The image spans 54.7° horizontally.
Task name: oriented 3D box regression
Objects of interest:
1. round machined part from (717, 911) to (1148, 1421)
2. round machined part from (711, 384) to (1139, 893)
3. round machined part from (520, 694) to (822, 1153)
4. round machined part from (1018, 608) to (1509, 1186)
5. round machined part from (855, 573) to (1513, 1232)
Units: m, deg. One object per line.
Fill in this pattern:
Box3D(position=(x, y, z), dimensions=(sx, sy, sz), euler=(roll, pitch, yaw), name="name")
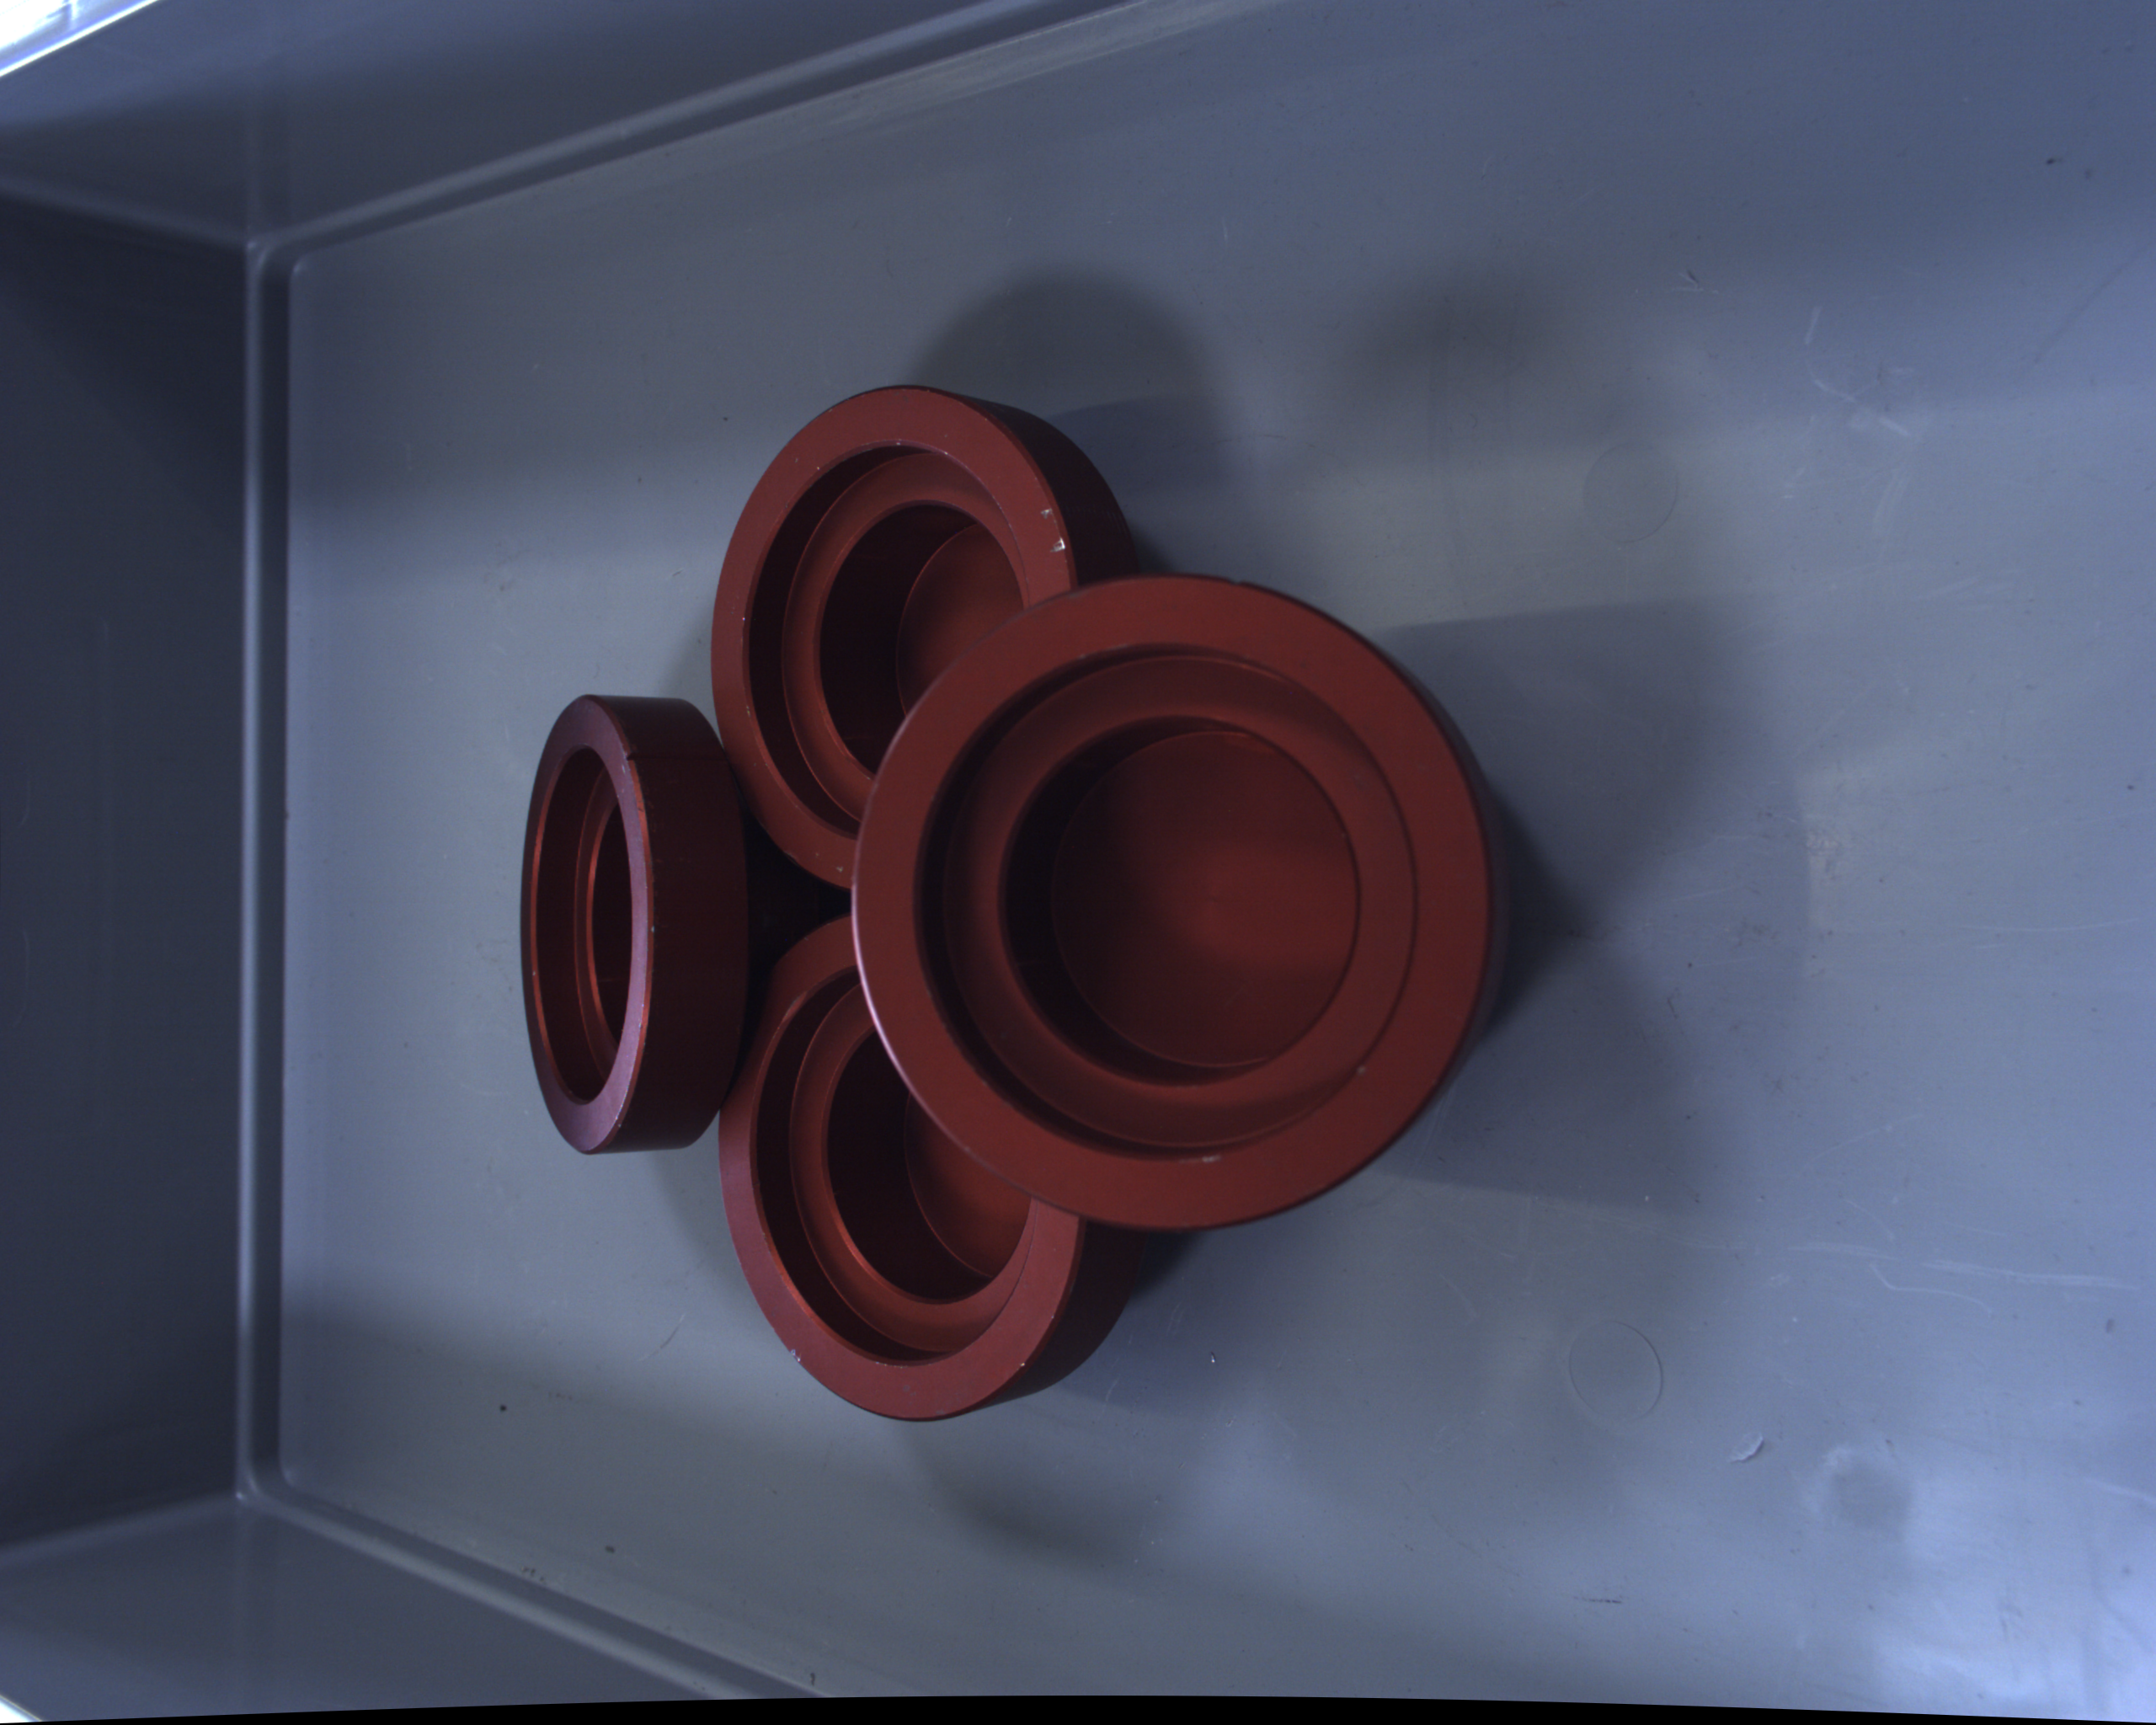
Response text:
Box3D(position=(-0.023, 0.057, 0.412), dimensions=(0.098, 0.042, 0.097), euler=(0, 90, 40), name="round machined part")
Box3D(position=(-0.025, -0.042, 0.414), dimensions=(0.098, 0.042, 0.097), euler=(0, 90, 40), name="round machined part")
Box3D(position=(-0.088, 0.013, 0.453), dimensions=(0.098, 0.042, 0.097), euler=(-1, 88, 61), name="round machined part")
Box3D(position=(0.025, 0.006, 0.359), dimensions=(0.098, 0.042, 0.097), euler=(0, 89, 17), name="round machined part")
Box3D(position=(0.018, 0.006, 0.328), dimensions=(0.098, 0.042, 0.097), euler=(0, 90, 18), name="round machined part")
